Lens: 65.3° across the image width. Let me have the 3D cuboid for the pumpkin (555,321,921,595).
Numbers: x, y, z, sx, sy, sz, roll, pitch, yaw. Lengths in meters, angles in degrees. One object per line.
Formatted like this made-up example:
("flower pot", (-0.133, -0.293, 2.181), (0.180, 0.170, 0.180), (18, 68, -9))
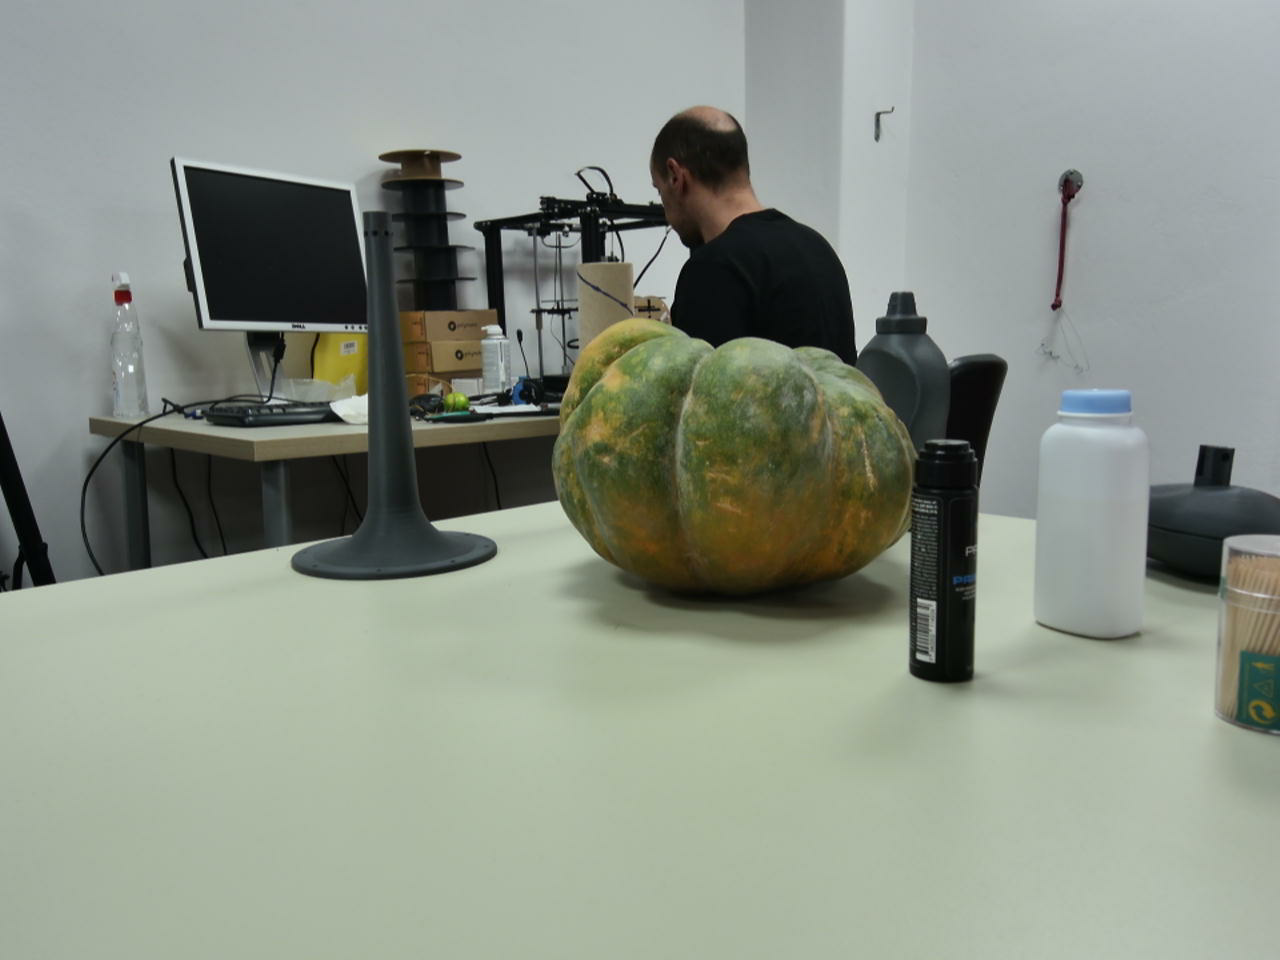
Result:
("pumpkin", (0.062, -0.018, 0.662), (0.237, 0.173, 0.270), (0, 6, -6))
